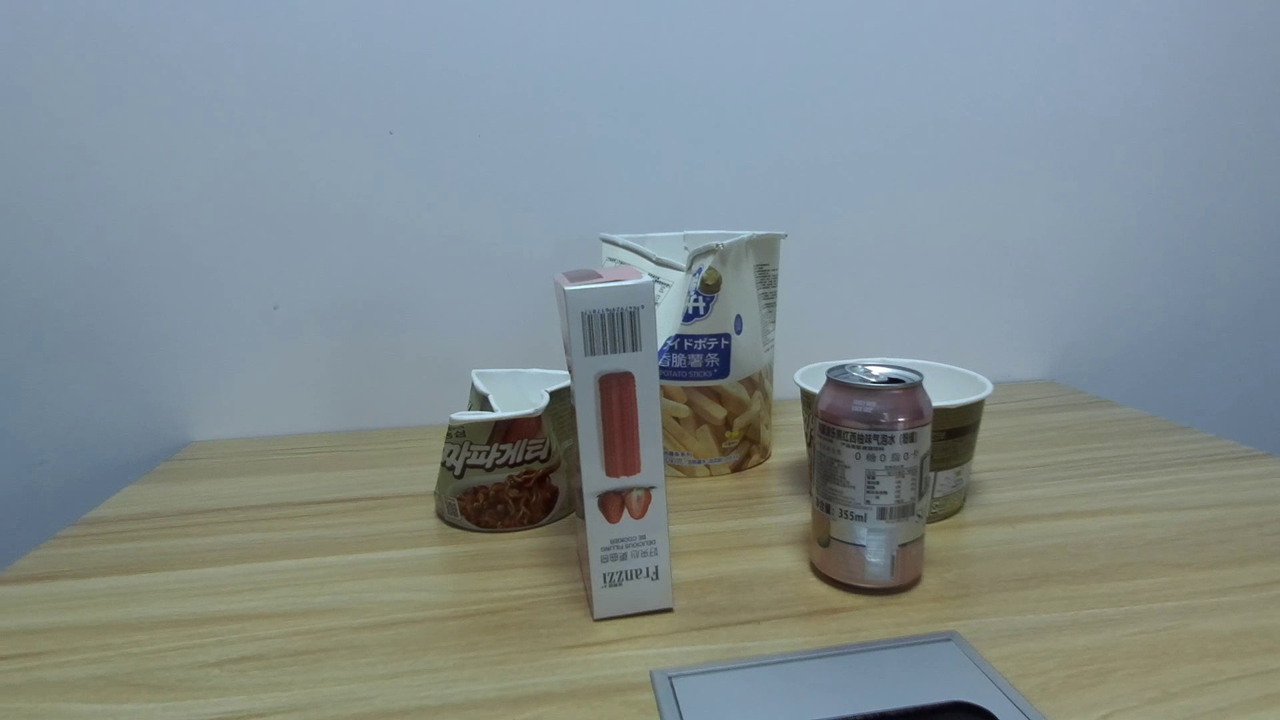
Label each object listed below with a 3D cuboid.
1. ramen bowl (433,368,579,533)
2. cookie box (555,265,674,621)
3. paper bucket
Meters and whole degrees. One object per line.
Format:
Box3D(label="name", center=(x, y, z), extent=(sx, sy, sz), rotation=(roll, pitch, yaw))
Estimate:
Box3D(label="ramen bowl", center=(-0.102, 0.067, 0.531), extent=(0.111, 0.093, 0.128), rotation=(1, 14, 13))
Box3D(label="cookie box", center=(-0.015, 0.039, 0.415), extent=(0.049, 0.187, 0.105), rotation=(-5, 13, -7))
Box3D(label="paper bucket", center=(0.036, -0.013, 0.636), extent=(0.162, 0.202, 0.170), rotation=(3, 11, 29))
